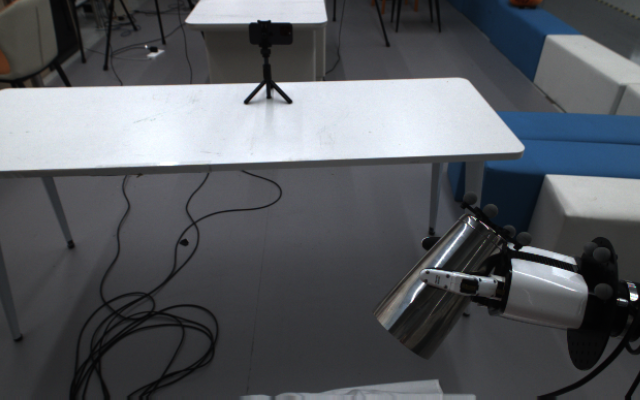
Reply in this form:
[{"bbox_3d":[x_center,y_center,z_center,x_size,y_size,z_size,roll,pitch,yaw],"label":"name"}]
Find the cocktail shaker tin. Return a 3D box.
[{"bbox_3d":[0.156,0.099,0.609,0.170,0.093,0.093,-50,46,3],"label":"cocktail shaker tin"}]
